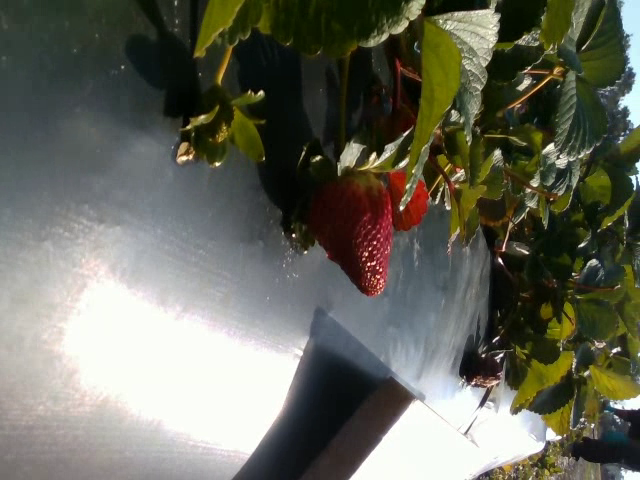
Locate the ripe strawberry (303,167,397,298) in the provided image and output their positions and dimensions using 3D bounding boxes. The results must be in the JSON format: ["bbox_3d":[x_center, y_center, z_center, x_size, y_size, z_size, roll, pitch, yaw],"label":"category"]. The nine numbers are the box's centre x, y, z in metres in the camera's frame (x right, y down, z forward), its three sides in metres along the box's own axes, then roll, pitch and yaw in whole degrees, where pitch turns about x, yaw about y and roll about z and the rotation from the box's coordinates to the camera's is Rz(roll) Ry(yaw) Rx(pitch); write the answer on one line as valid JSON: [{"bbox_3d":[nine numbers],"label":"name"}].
[{"bbox_3d":[0.015,0.000,0.229,0.040,0.056,0.040,-22,5,-35],"label":"ripe strawberry"}]
